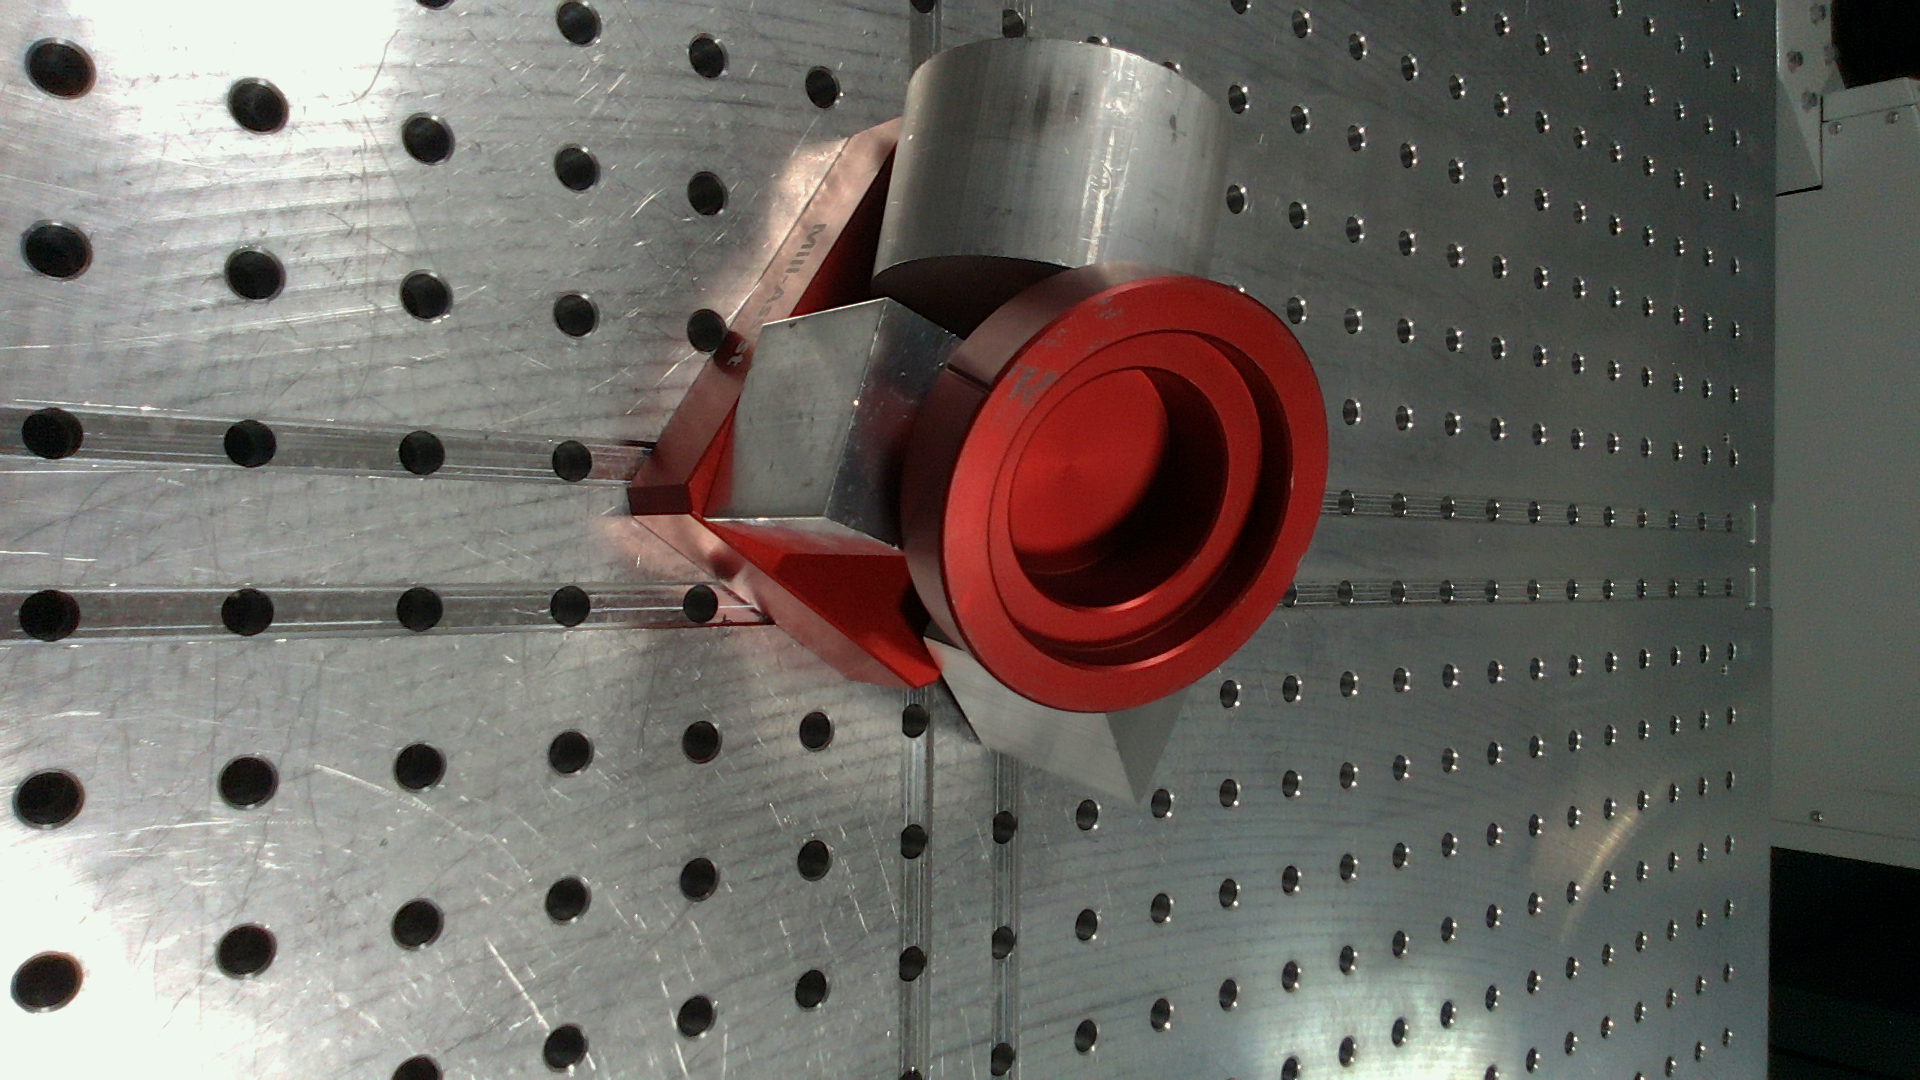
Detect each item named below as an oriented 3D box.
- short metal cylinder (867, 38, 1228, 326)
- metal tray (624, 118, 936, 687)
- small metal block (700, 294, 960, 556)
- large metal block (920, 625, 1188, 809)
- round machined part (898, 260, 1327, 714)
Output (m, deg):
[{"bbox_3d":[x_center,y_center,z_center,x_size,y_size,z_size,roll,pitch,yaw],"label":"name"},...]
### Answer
[{"bbox_3d":[0.022,-0.078,0.335,0.080,0.080,0.050,17,79,-38],"label":"short metal cylinder"},{"bbox_3d":[-0.019,-0.038,0.373,0.090,0.030,0.130,42,65,-32],"label":"metal tray"},{"bbox_3d":[-0.029,-0.024,0.311,0.025,0.050,0.050,24,75,-37],"label":"small metal block"},{"bbox_3d":[0.038,0.018,0.384,0.080,0.050,0.080,-63,155,-21],"label":"large metal block"},{"bbox_3d":[0.031,-0.014,0.310,0.098,0.042,0.098,-11,114,-24],"label":"round machined part"}]
